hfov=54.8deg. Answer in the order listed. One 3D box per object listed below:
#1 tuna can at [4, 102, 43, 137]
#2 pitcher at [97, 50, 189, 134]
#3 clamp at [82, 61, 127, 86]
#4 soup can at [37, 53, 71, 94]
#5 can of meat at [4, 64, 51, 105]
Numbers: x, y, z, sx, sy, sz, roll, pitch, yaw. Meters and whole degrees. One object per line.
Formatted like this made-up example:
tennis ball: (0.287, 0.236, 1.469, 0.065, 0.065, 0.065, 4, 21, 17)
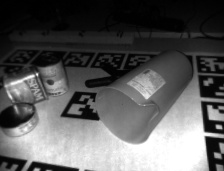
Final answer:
tuna can: (-0.218, 0.084, 0.538, 0.085, 0.034, 0.085, -4, 41, 4)
pitcher: (0.086, -0.007, 0.525, 0.186, 0.134, 0.244, -4, 25, 41)
clamp: (0.003, -0.033, 0.667, 0.164, 0.037, 0.122, 6, 36, 10)
soup can: (-0.166, -0.034, 0.625, 0.068, 0.103, 0.067, -6, 40, 6)
can of meat: (-0.225, 0.004, 0.579, 0.084, 0.102, 0.057, -24, 43, -14)
